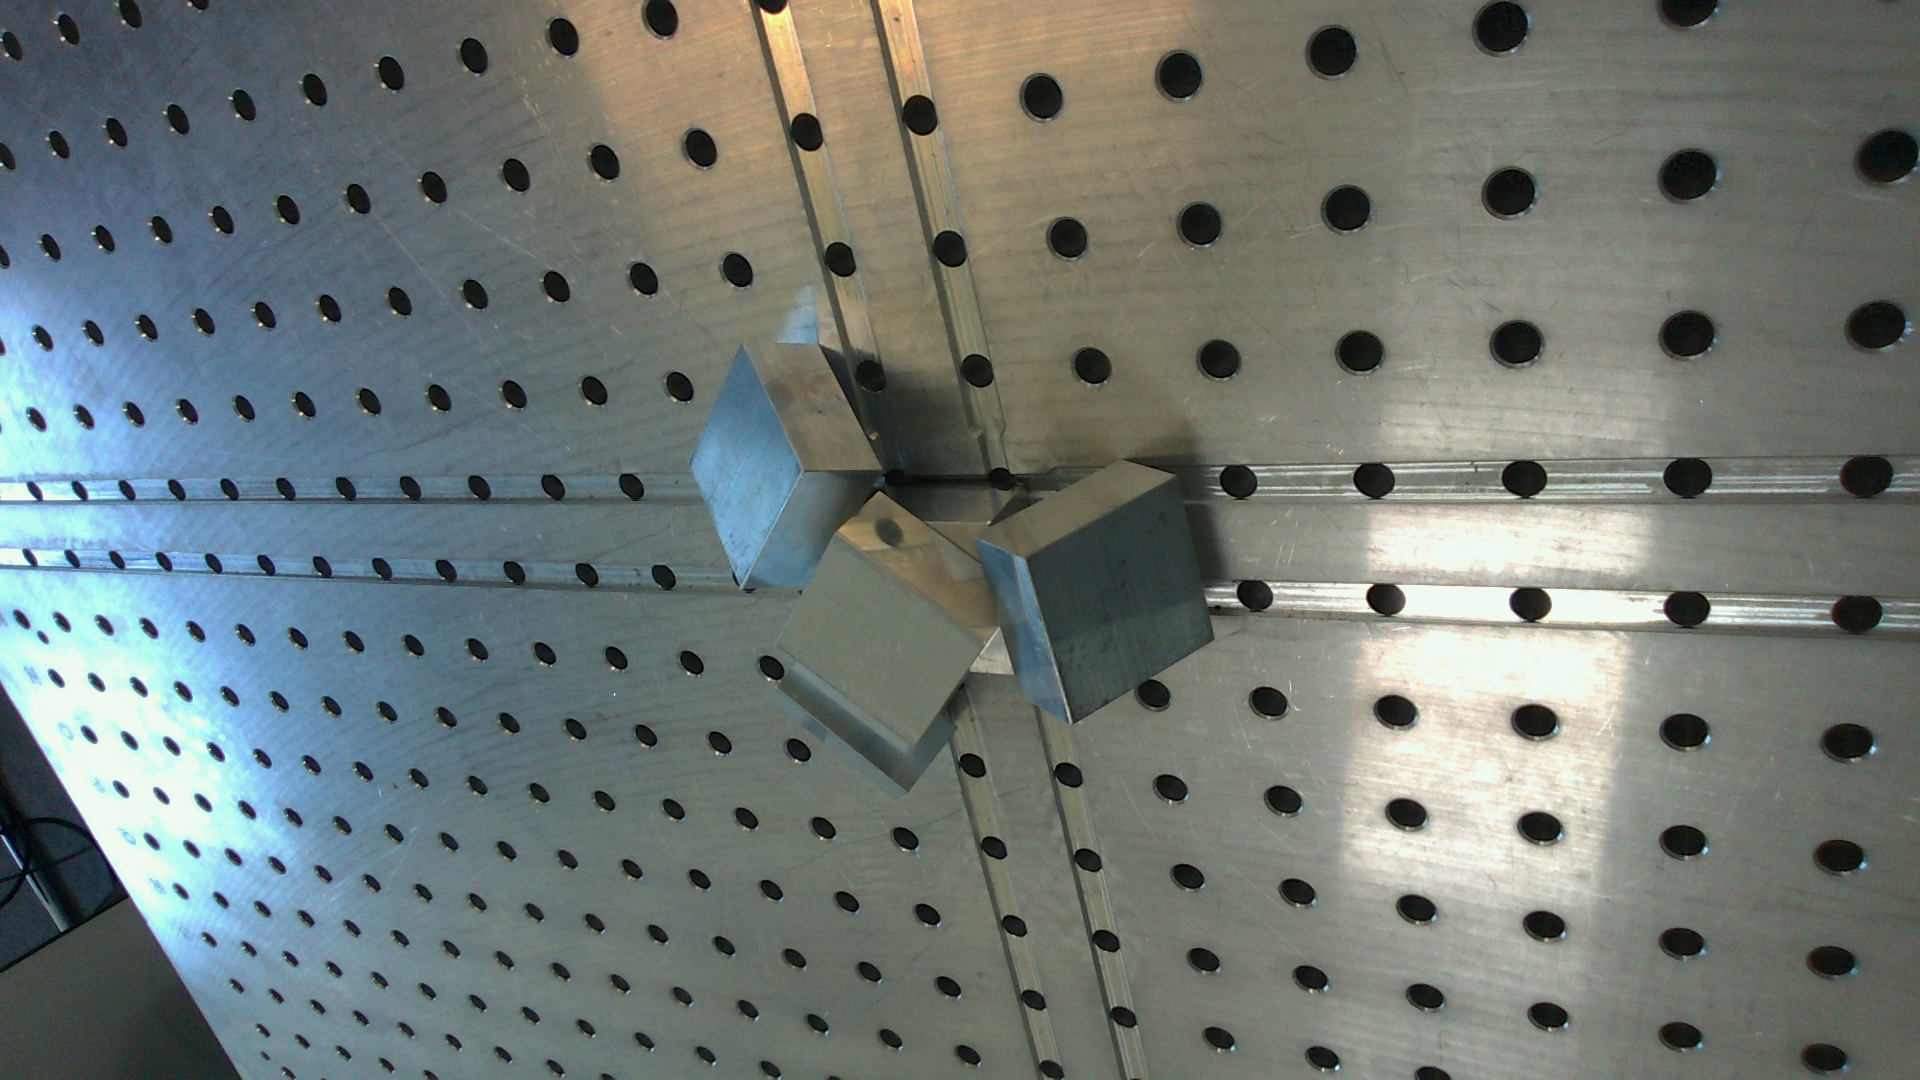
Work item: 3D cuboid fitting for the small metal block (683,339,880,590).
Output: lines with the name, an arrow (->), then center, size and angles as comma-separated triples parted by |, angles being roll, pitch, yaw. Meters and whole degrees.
small metal block -> -0.053, -0.021, 0.395 | 0.050, 0.025, 0.050 | -56, 50, 39

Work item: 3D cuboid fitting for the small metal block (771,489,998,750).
small metal block -> -0.019, 0.023, 0.387 | 0.050, 0.025, 0.050 | 35, 129, 4

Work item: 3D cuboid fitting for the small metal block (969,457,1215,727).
small metal block -> 0.036, 0.013, 0.365 | 0.025, 0.050, 0.050 | 24, 136, 57

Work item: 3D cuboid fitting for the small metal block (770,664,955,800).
small metal block -> -0.031, 0.055, 0.430 | 0.050, 0.025, 0.050 | 39, 166, 3

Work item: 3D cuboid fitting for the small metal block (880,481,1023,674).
small metal block -> -0.004, 0.011, 0.405 | 0.050, 0.025, 0.050 | 1, 122, 28
